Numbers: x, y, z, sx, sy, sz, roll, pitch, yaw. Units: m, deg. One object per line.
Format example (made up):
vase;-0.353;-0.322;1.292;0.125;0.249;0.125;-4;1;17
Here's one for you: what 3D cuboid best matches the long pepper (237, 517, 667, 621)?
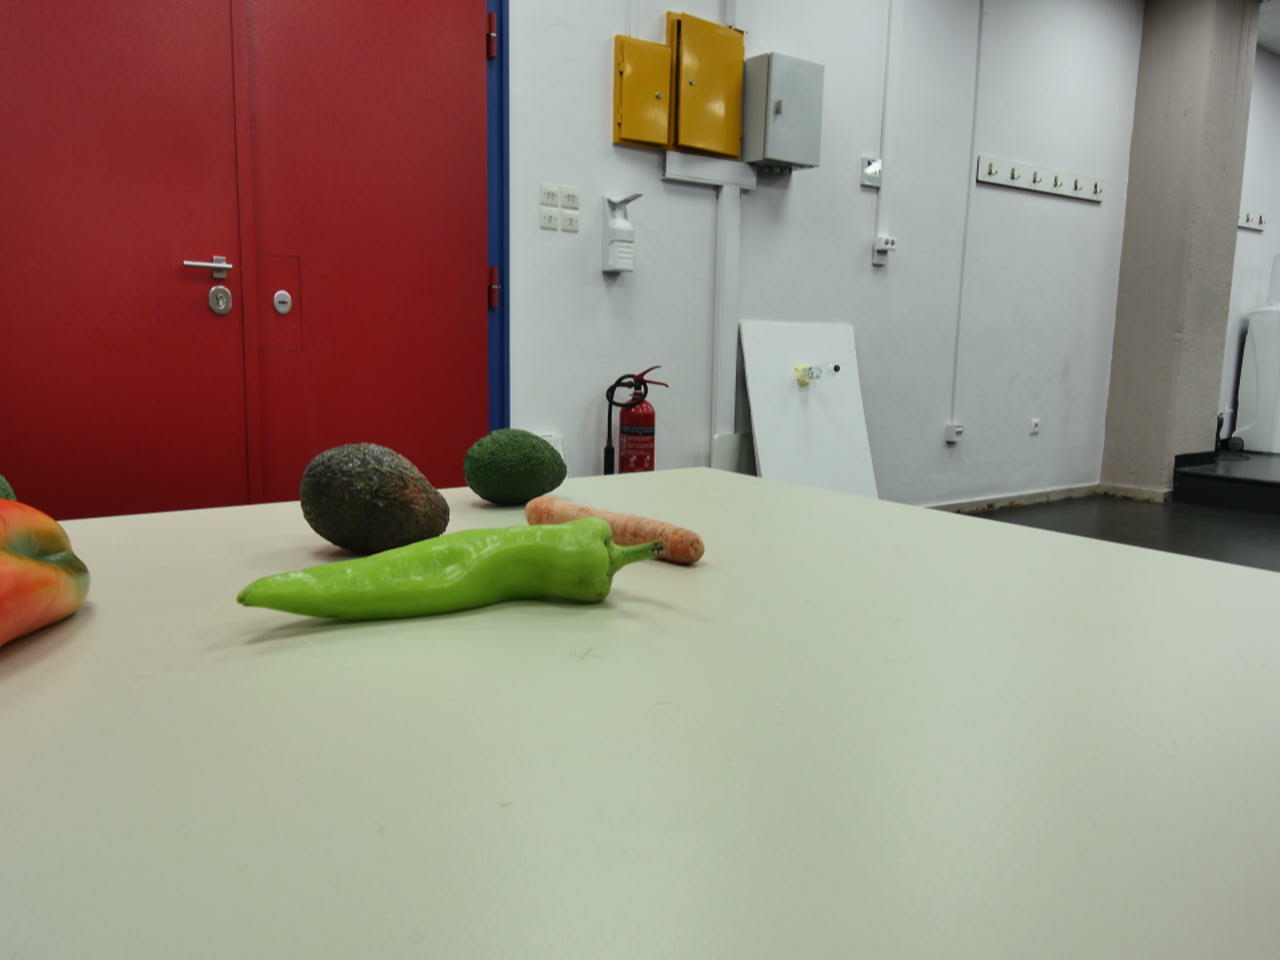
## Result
long pepper;-0.091;0.045;0.510;0.204;0.045;0.065;-3;7;-21
